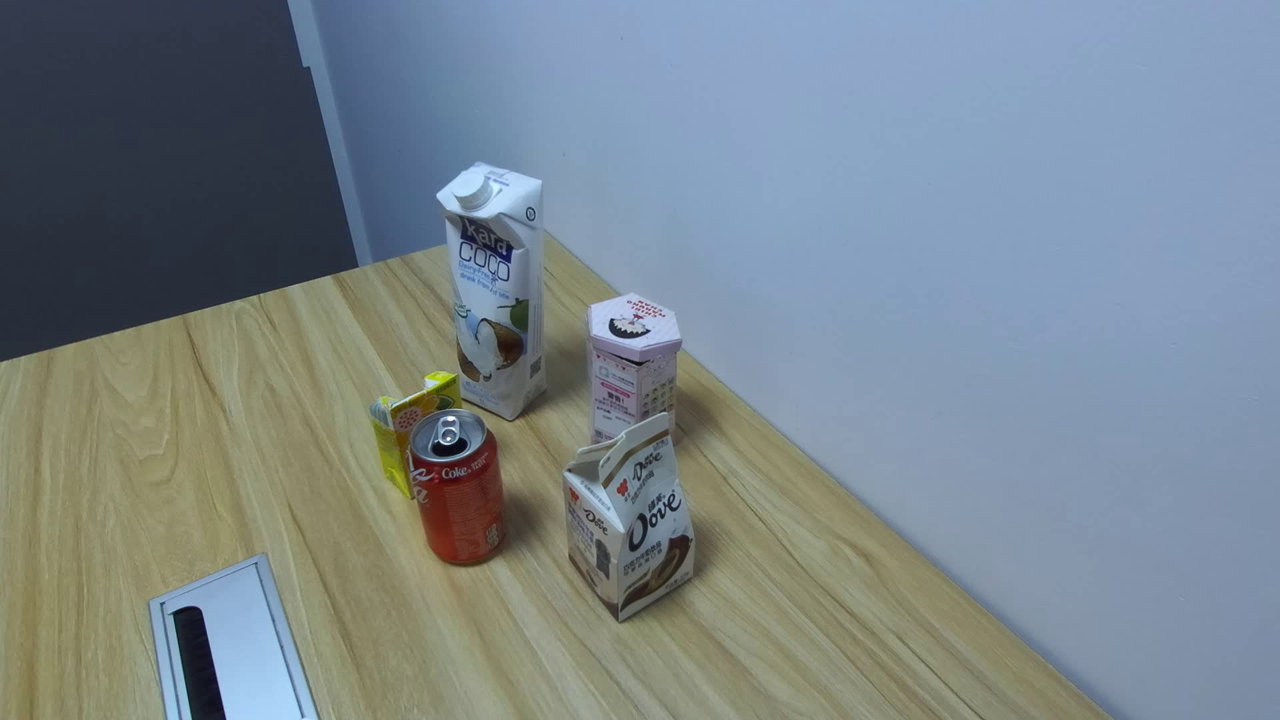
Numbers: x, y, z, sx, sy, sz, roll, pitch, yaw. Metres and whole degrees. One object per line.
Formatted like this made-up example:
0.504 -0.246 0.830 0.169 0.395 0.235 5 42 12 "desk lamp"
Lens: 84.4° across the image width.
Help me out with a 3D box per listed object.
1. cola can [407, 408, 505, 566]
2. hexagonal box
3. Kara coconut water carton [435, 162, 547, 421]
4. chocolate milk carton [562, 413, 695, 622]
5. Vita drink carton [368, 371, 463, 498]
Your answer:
-0.141 0.099 0.548 0.068 0.120 0.067 0 38 0 "cola can"
-0.007 0.019 0.635 0.092 0.135 0.085 17 40 20 "hexagonal box"
-0.129 -0.060 0.645 0.099 0.244 0.071 20 41 22 "Kara coconut water carton"
-0.004 0.105 0.512 0.084 0.155 0.072 -22 44 -28 "chocolate milk carton"
-0.190 0.056 0.609 0.046 0.110 0.071 33 48 29 "Vita drink carton"
